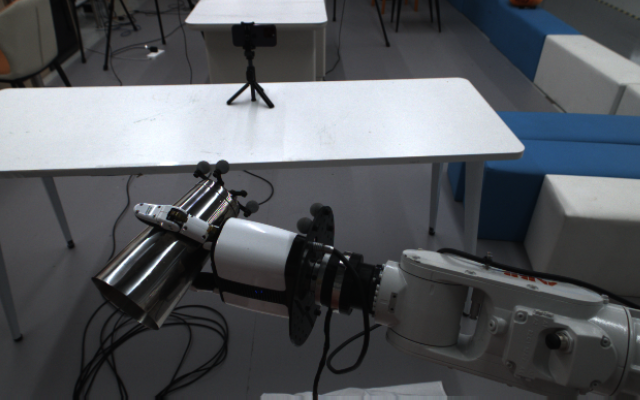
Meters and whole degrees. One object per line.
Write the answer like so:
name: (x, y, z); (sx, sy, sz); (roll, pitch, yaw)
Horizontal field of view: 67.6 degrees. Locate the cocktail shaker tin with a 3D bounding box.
cocktail shaker tin: (-0.169, 0.053, 0.571); (0.093, 0.093, 0.170); (19, 54, 23)
